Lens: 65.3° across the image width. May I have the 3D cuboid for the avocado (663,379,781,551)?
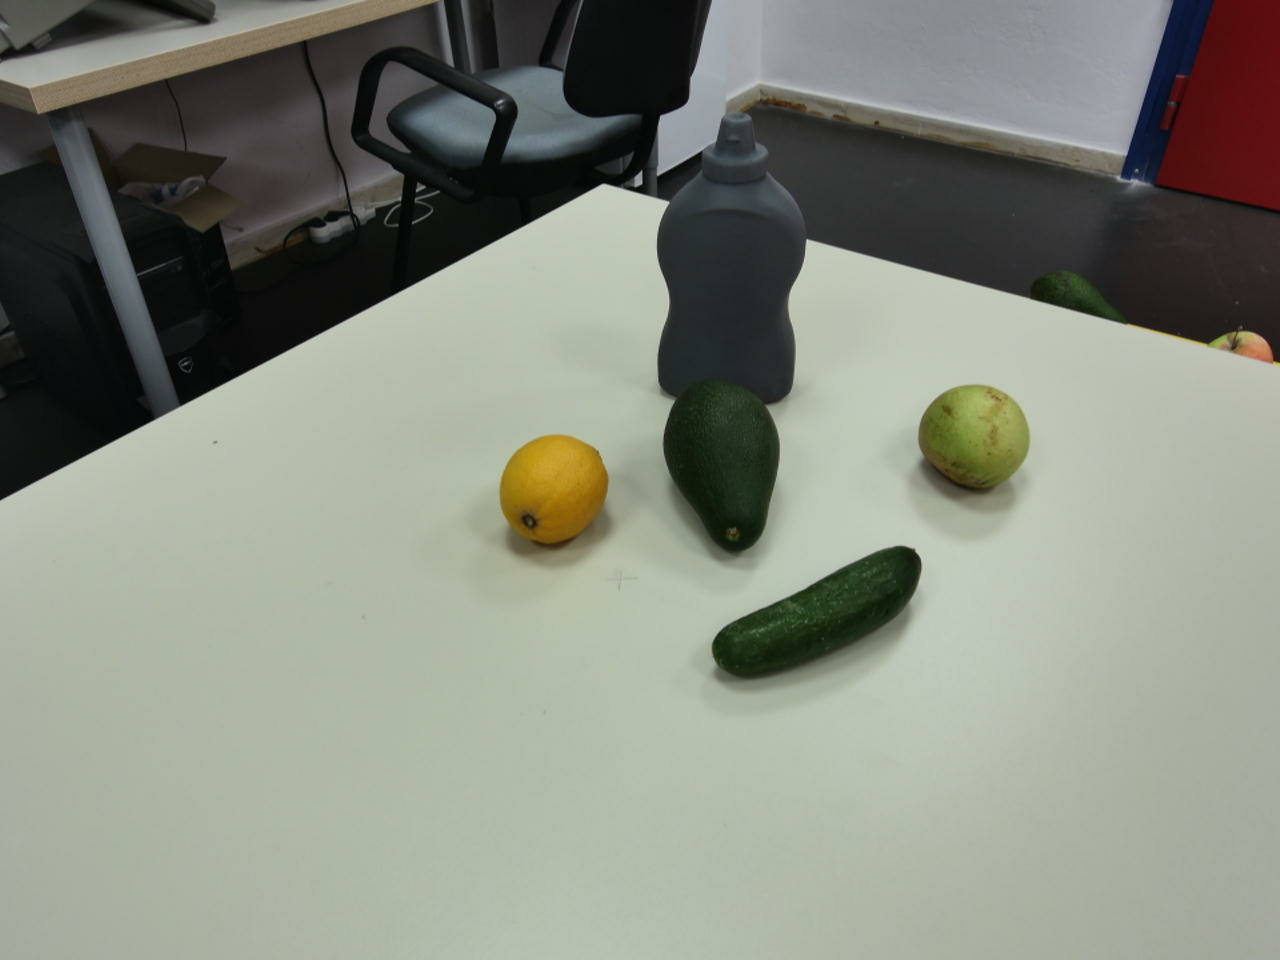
[{"bbox_3d":[0.046,-0.013,0.596,0.073,0.071,0.109,8,38,12],"label":"avocado"}]
